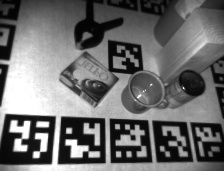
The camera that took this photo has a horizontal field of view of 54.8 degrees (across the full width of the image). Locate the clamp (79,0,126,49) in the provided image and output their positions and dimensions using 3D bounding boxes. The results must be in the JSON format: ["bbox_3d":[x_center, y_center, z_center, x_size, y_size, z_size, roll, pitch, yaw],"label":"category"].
[{"bbox_3d":[-0.040,-0.168,0.603,0.122,0.036,0.165,34,62,-9],"label":"clamp"}]

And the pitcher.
[{"bbox_3d":[0.233,-0.214,0.585,0.190,0.242,0.132,2,64,-12],"label":"pitcher"}]

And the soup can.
[{"bbox_3d":[0.183,0.004,0.552,0.068,0.102,0.067,6,68,-13],"label":"soup can"}]

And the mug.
[{"bbox_3d":[0.091,0.020,0.530,0.117,0.081,0.093,36,60,2],"label":"mug"}]

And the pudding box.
[{"bbox_3d":[-0.054,-0.024,0.531,0.114,0.038,0.090,38,65,2],"label":"pudding box"}]

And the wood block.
[{"bbox_3d":[0.209,-0.098,0.545,0.091,0.205,0.090,2,66,-19],"label":"wood block"}]
